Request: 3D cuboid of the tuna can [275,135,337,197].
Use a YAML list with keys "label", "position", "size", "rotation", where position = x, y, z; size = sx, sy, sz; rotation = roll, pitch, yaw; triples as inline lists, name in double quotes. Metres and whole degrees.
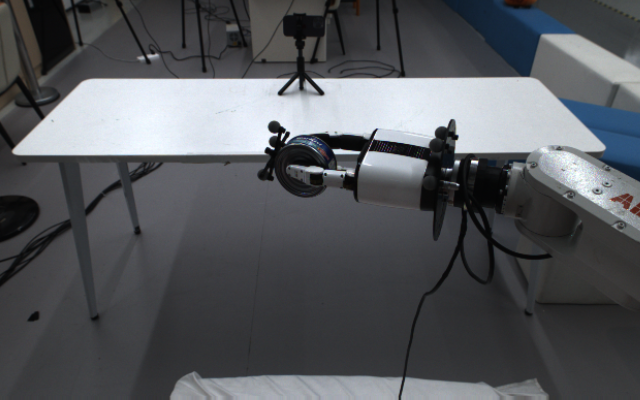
- label: "tuna can"
  position: [-0.019, -0.044, 0.684]
  size: [0.085, 0.085, 0.034]
  rotation: [12, 30, 14]
